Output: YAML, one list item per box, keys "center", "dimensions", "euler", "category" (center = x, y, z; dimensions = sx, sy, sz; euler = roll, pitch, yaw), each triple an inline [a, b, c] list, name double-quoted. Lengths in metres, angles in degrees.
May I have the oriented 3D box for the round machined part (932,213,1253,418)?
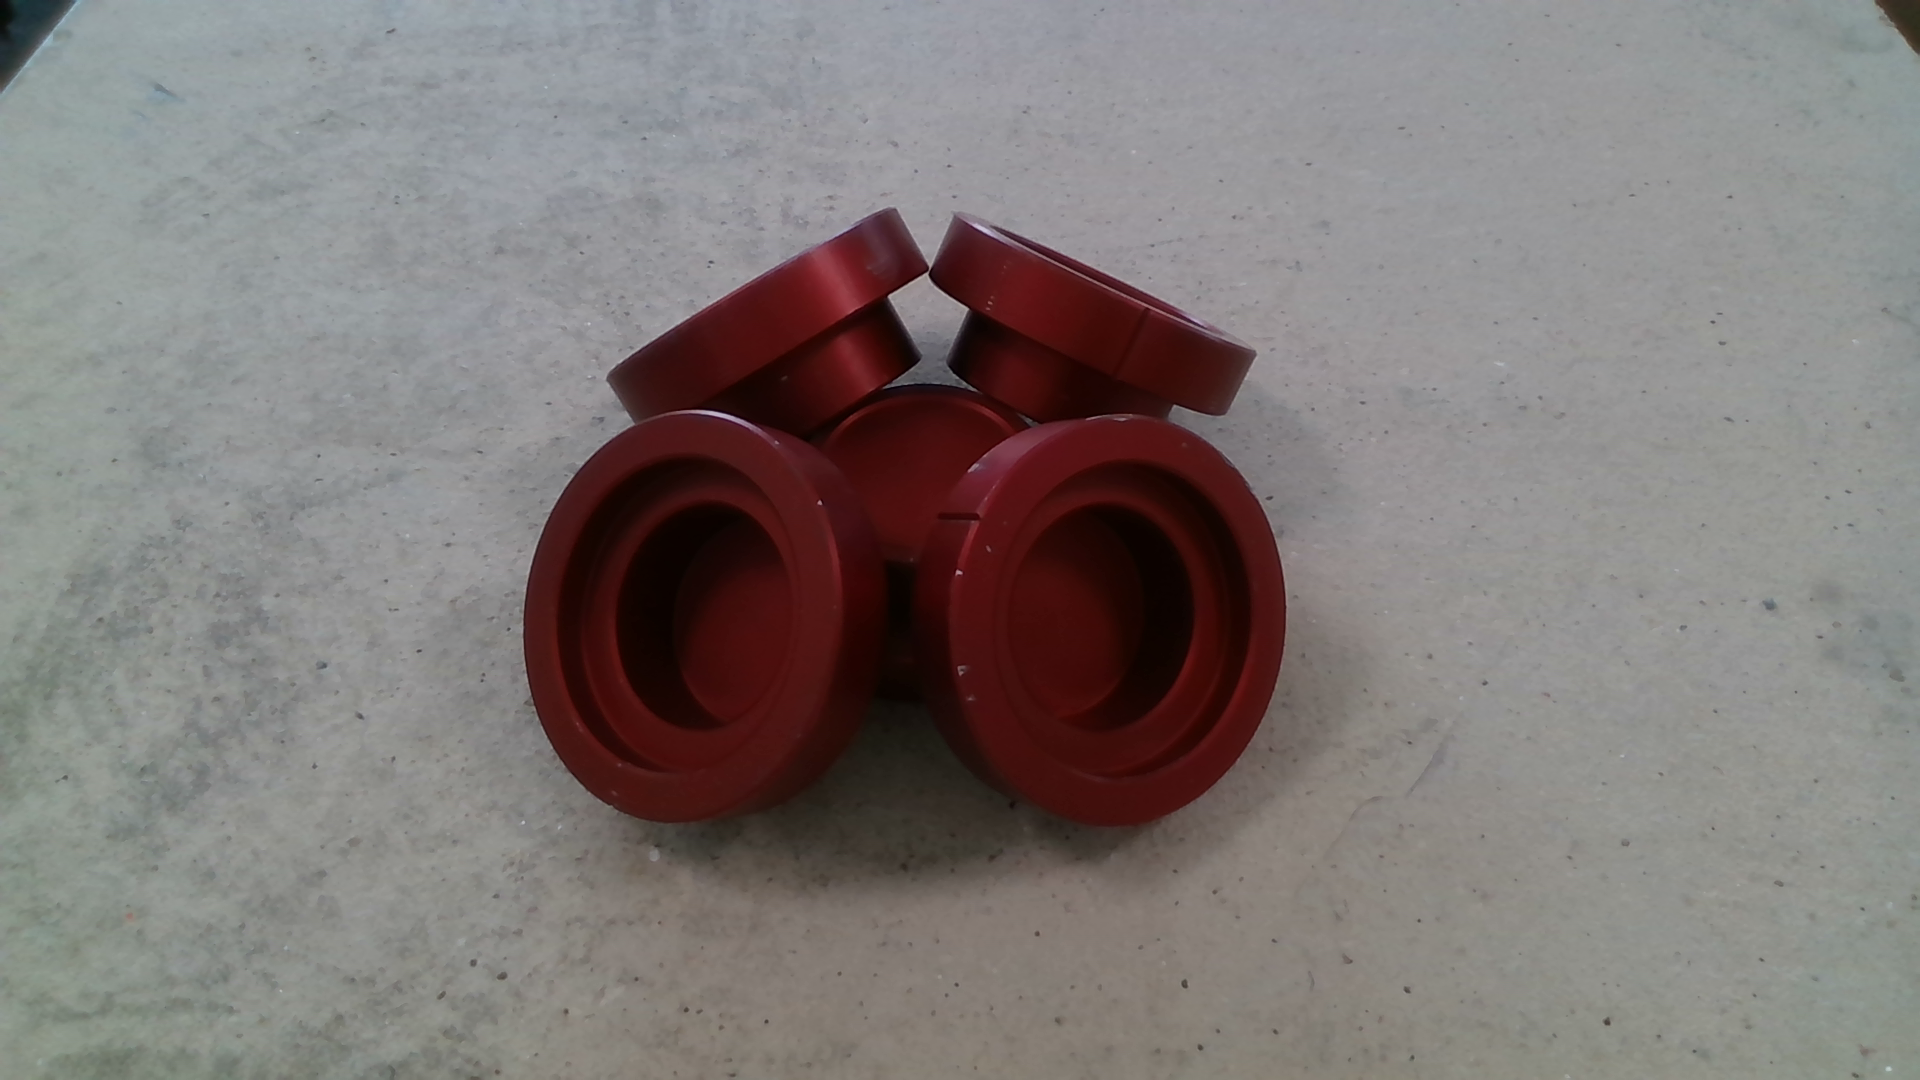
- center: [0.034, -0.058, 0.411]
  dimensions: [0.098, 0.042, 0.098]
  euler: [24, 14, -6]
  category: "round machined part"

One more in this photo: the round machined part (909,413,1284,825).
- center: [0.030, 0.018, 0.345]
  dimensions: [0.098, 0.098, 0.042]
  euler: [-33, 17, -24]
  category: "round machined part"

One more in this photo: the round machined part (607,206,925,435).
- center: [-0.051, -0.055, 0.406]
  dimensions: [0.098, 0.098, 0.042]
  euler: [-36, 102, -26]
  category: "round machined part"

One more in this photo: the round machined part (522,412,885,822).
- center: [-0.059, 0.020, 0.345]
  dimensions: [0.098, 0.042, 0.098]
  euler: [-4, 82, 29]
  category: "round machined part"

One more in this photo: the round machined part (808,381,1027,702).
- center: [-0.010, -0.007, 0.388]
  dimensions: [0.098, 0.042, 0.098]
  euler: [1, 51, -1]
  category: "round machined part"
